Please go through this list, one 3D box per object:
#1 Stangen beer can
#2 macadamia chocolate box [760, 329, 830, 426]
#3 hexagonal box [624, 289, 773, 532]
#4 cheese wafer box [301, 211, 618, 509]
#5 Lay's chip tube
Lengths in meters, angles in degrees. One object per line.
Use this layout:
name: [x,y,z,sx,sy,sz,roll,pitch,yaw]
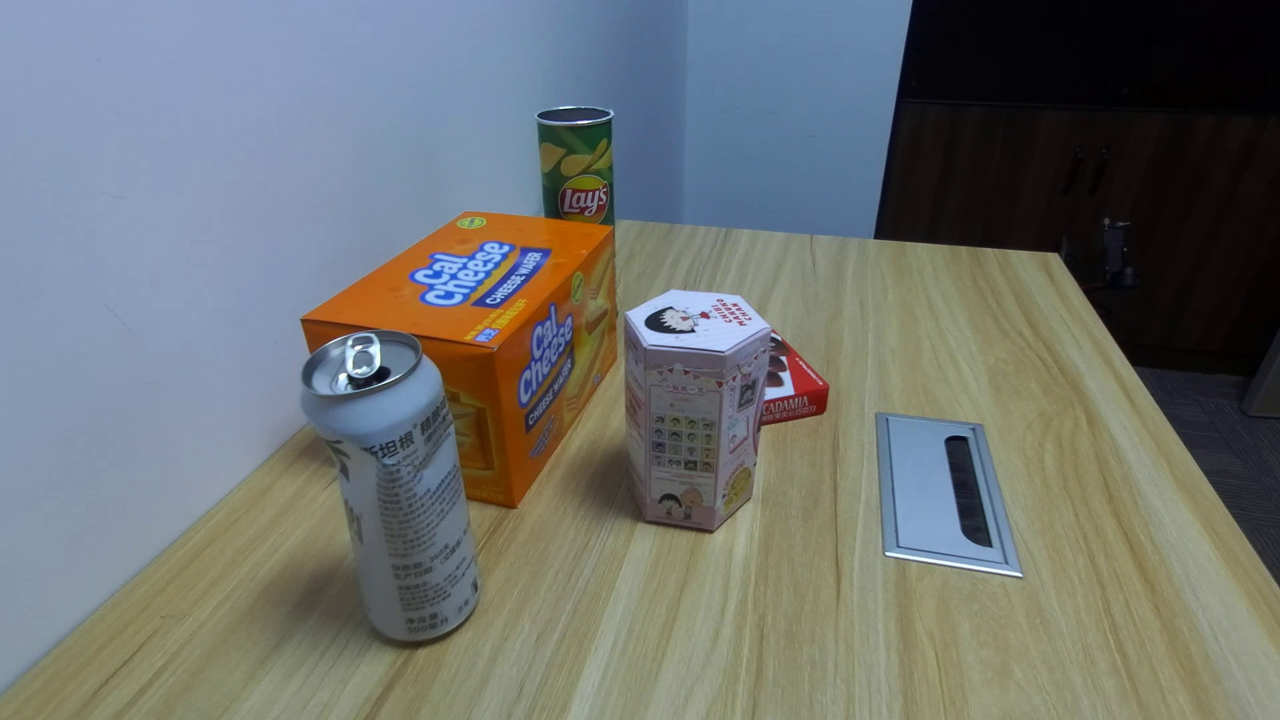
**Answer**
Stangen beer can: [-0.128,0.069,0.369,0.069,0.173,0.070,-1,31,2]
macadamia chocolate box: [0.081,-0.004,0.628,0.096,0.027,0.177,-11,33,-14]
hexagonal box: [0.036,0.032,0.460,0.084,0.136,0.091,-11,32,-14]
cheese wafer box: [-0.120,-0.015,0.557,0.148,0.129,0.222,9,32,15]
Lay's chip tube: [-0.057,-0.135,0.677,0.071,0.203,0.071,0,32,0]
